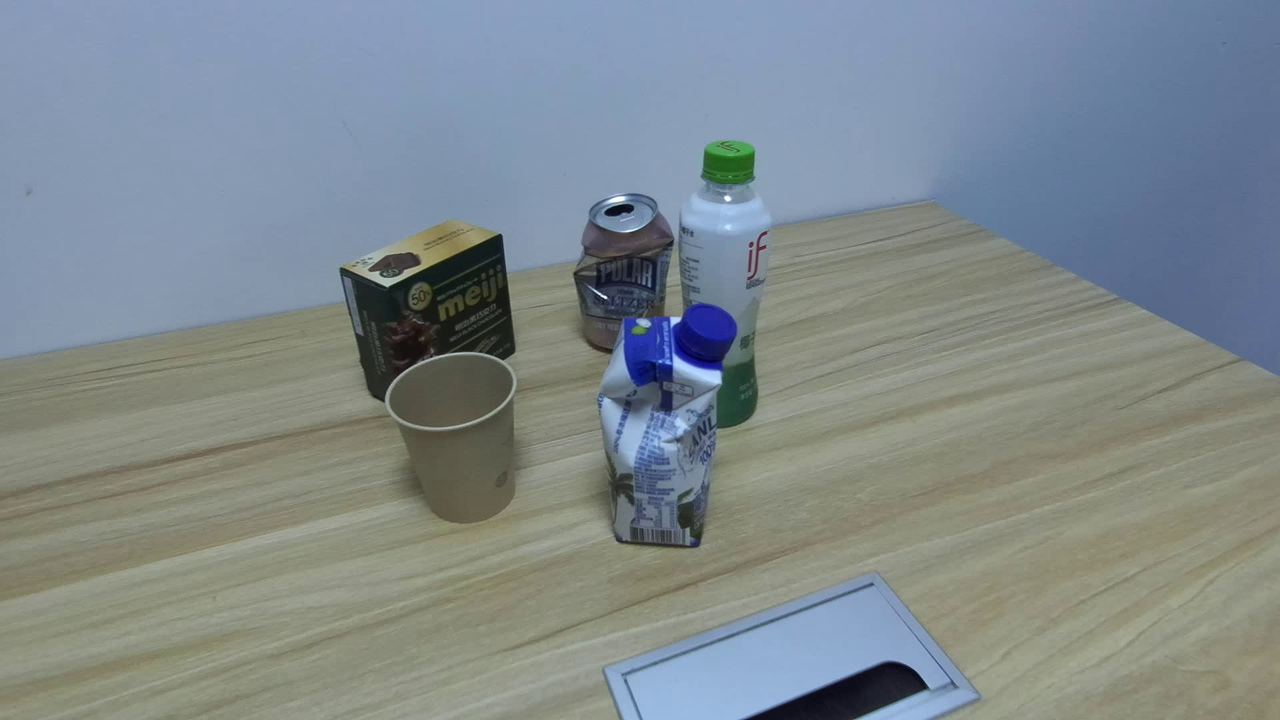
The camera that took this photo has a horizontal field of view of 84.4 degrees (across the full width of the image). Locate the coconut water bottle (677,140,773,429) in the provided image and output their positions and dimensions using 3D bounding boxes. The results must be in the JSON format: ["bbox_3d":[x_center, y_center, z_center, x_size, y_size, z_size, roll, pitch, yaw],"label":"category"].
[{"bbox_3d":[0.054,-0.046,0.467,0.063,0.189,0.063,-1,33,1],"label":"coconut water bottle"}]

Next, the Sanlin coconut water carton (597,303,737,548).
[{"bbox_3d":[0.013,0.036,0.387,0.070,0.144,0.060,4,35,4],"label":"Sanlin coconut water carton"}]

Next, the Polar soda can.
[{"bbox_3d":[-0.014,-0.064,0.564,0.071,0.122,0.066,-18,39,-30],"label":"Polar soda can"}]

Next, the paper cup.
[{"bbox_3d":[-0.107,0.050,0.428,0.075,0.082,0.075,0,34,0],"label":"paper cup"}]

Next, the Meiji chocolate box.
[{"bbox_3d":[-0.154,-0.033,0.532,0.056,0.109,0.110,20,38,29],"label":"Meiji chocolate box"}]
